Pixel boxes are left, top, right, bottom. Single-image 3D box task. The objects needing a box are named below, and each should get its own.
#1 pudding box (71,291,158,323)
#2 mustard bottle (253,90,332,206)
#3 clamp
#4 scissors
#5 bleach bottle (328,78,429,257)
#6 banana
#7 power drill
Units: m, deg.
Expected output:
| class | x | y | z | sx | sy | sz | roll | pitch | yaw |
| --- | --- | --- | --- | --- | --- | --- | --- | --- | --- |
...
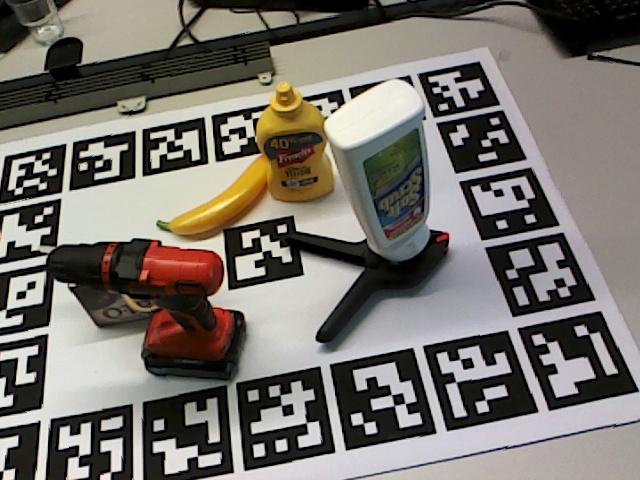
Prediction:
| class | x | y | z | sx | sy | sz | roll | pitch | yaw |
| --- | --- | --- | --- | --- | --- | --- | --- | --- | --- |
| pudding box | -0.248 | 0.061 | 0.786 | 0.114 | 0.089 | 0.039 | -8 | 48 | 2 |
| mustard bottle | -0.039 | -0.123 | 0.827 | 0.096 | 0.191 | 0.058 | 1 | 56 | 7 |
| clamp | 0.065 | 0.020 | 0.784 | 0.202 | 0.036 | 0.166 | -16 | 57 | -5 |
| scissors | -0.265 | 0.021 | 0.738 | 0.203 | 0.016 | 0.088 | 12 | 62 | 10 |
| bleach bottle | 0.085 | -0.058 | 0.707 | 0.102 | 0.249 | 0.068 | -31 | 53 | -5 |
| banana | -0.140 | -0.076 | 0.889 | 0.075 | 0.038 | 0.197 | 24 | 61 | 41 |
| power drill | -0.185 | 0.074 | 0.674 | 0.185 | 0.186 | 0.057 | -2 | 49 | 10 |
